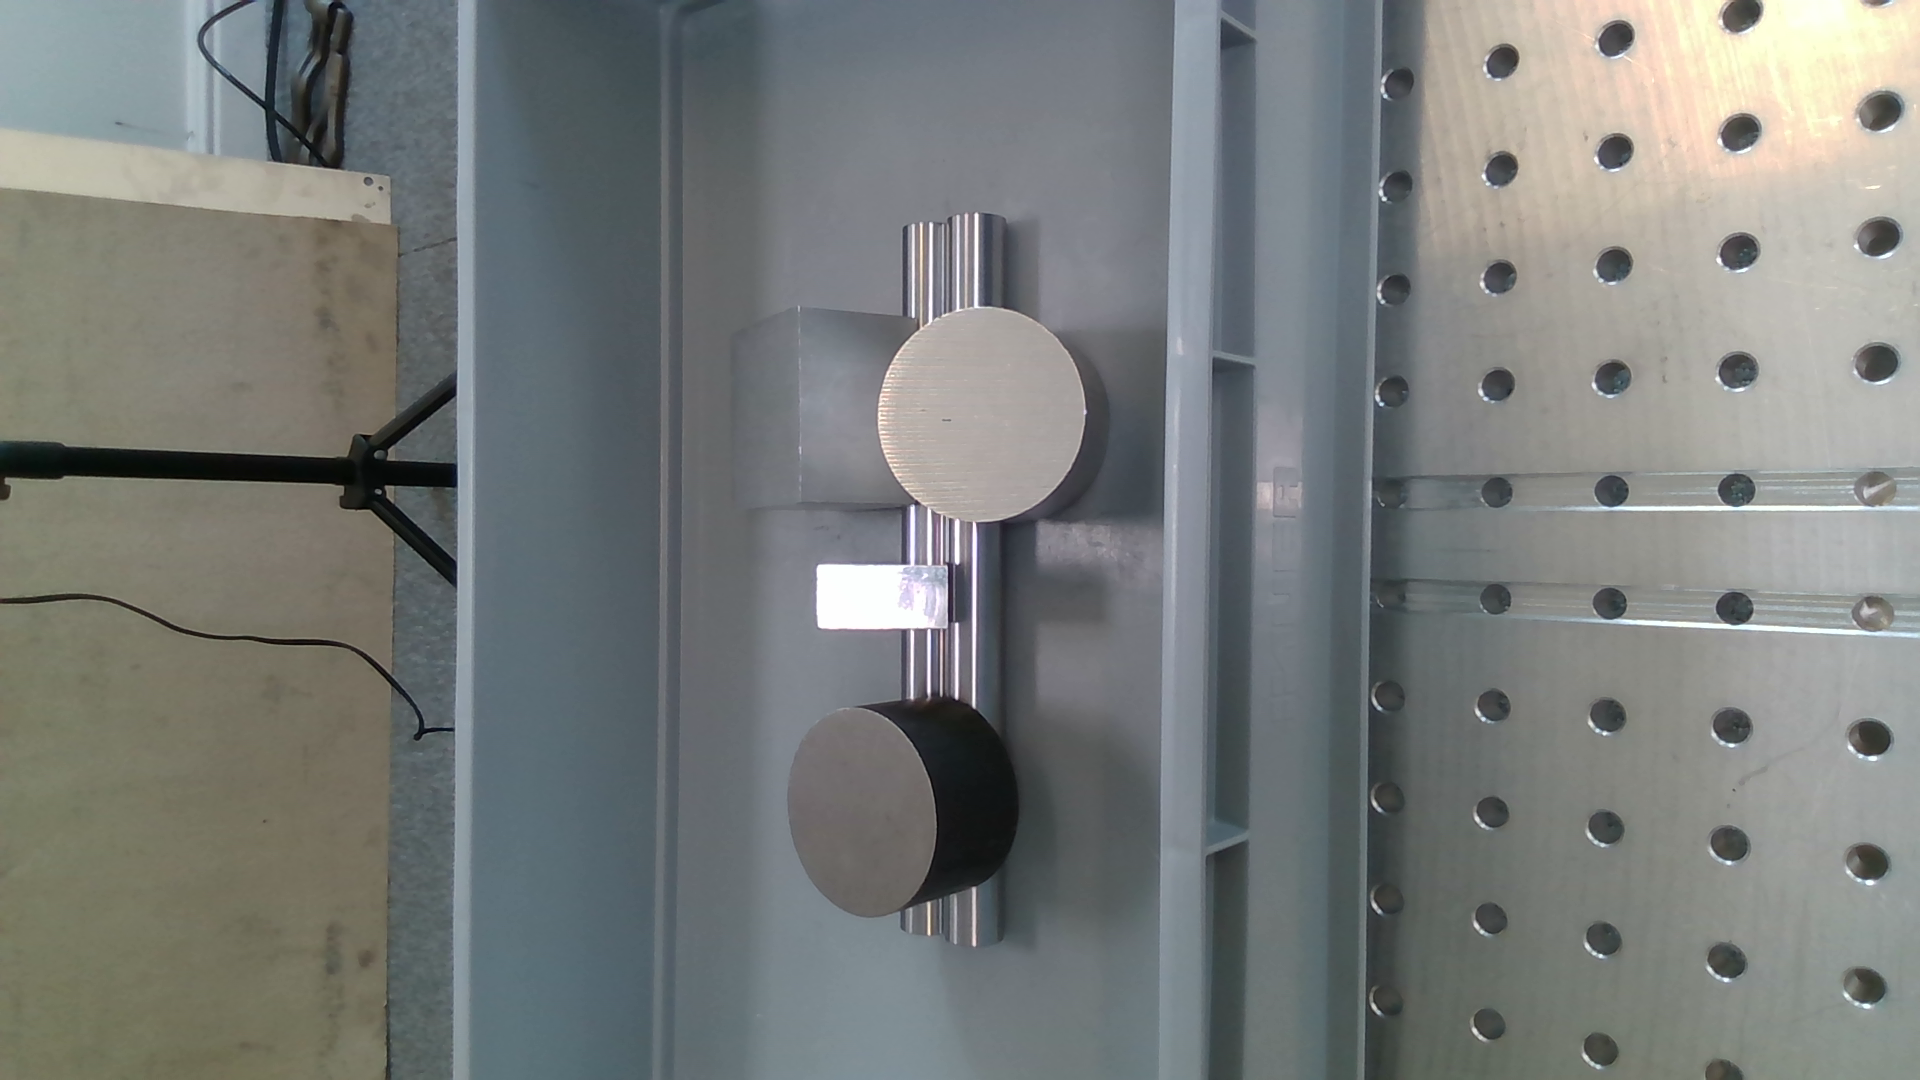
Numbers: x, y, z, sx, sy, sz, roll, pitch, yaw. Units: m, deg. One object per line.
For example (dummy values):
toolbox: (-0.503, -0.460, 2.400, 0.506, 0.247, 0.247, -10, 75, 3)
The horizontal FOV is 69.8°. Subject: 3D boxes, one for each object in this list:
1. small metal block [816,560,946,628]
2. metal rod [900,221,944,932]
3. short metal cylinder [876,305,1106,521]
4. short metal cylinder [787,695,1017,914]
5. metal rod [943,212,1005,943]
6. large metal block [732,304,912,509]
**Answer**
small metal block: (-0.031, 0.021, 0.554, 0.050, 0.050, 0.025, 0, 91, -2)
metal rod: (-0.013, 0.016, 0.593, 0.025, 0.025, 0.300, 1, 91, 40)
short metal cylinder: (0.014, -0.047, 0.534, 0.080, 0.050, 0.080, 0, 91, 16)
short metal cylinder: (-0.024, 0.105, 0.553, 0.080, 0.050, 0.080, 0, 91, 40)
metal rod: (0.006, 0.016, 0.576, 0.025, 0.025, 0.300, 1, 91, 40)
large metal block: (-0.062, -0.055, 0.599, 0.080, 0.050, 0.080, -1, 90, 60)
